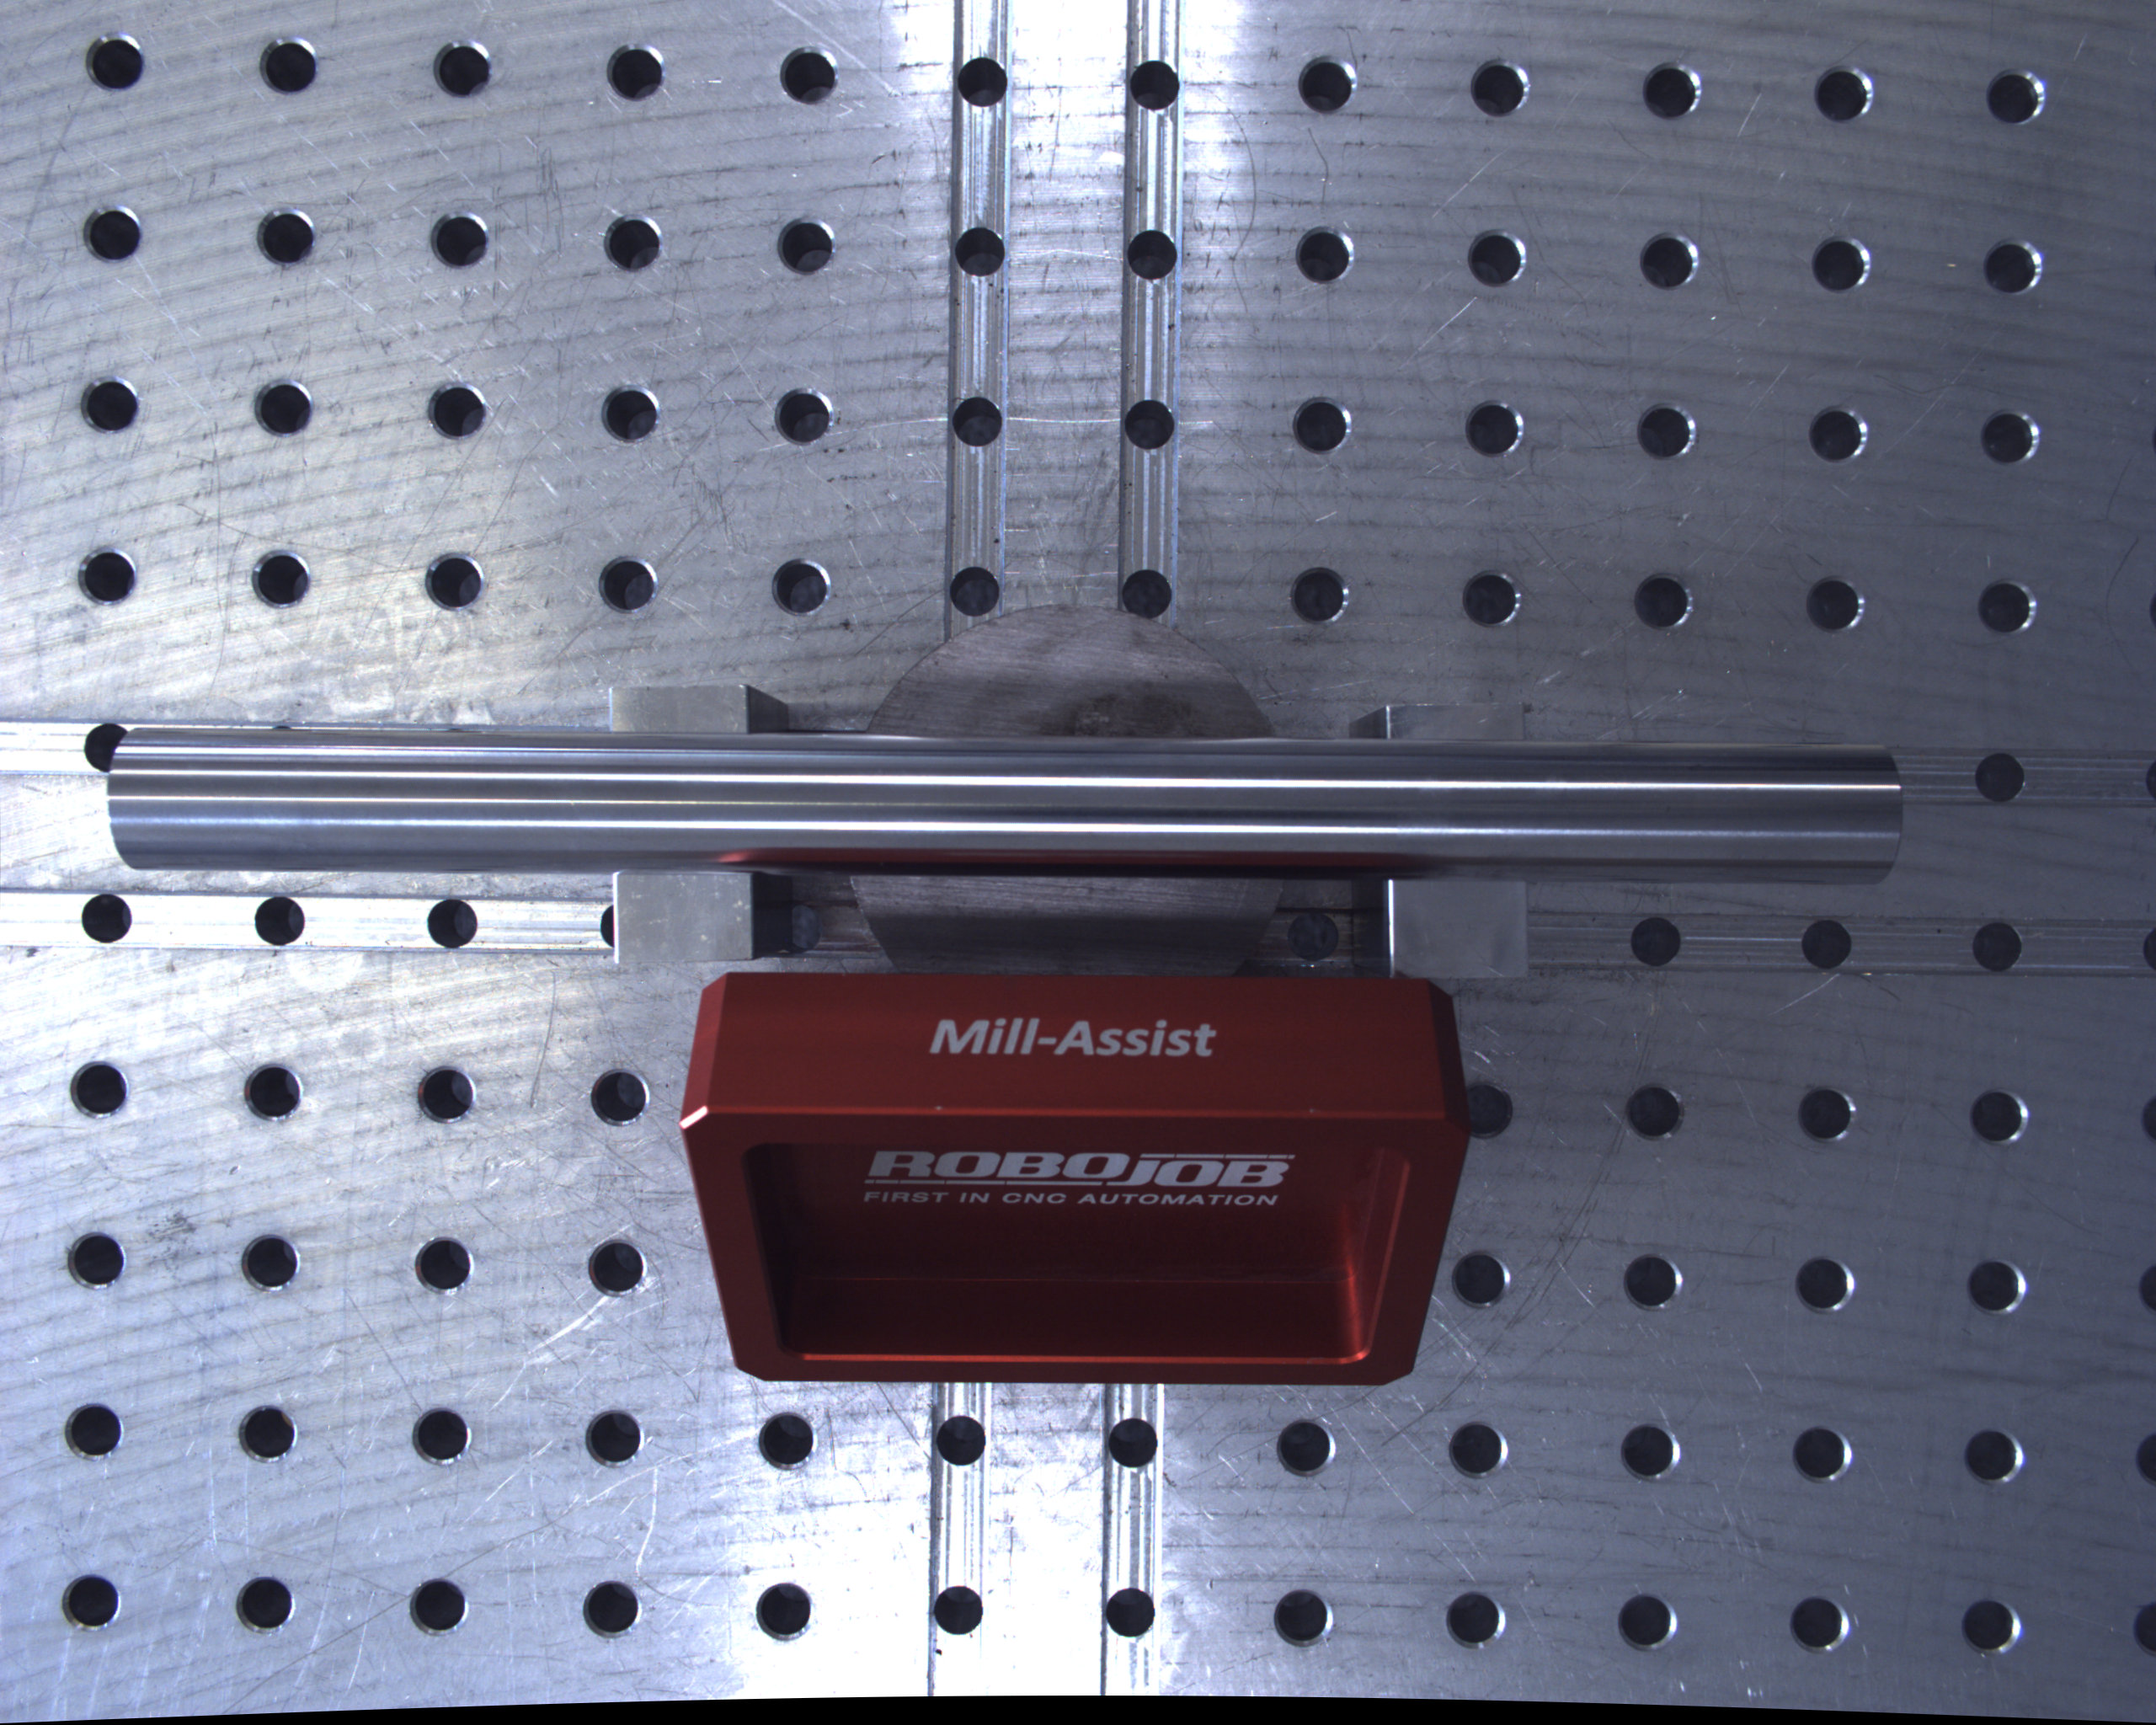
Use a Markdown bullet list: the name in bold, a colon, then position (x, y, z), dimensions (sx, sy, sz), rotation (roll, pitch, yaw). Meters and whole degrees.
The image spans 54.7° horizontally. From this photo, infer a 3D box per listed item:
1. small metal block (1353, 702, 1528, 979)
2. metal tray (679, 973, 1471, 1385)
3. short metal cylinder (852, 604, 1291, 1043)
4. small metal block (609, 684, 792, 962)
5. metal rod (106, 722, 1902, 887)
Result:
- **small metal block**: position (0.068, -0.004, 0.401), dimensions (0.025, 0.050, 0.050), rotation (-1, 90, 0)
- **metal tray**: position (-0.001, 0.060, 0.383), dimensions (0.131, 0.089, 0.030), rotation (0, 47, 0)
- **short metal cylinder**: position (-0.002, -0.007, 0.400), dimensions (0.081, 0.050, 0.080), rotation (0, 90, 0)
- **small metal block**: position (-0.071, -0.007, 0.400), dimensions (0.025, 0.050, 0.050), rotation (-1, 90, 0)
- **metal rod**: position (-0.012, -0.010, 0.363), dimensions (0.302, 0.025, 0.025), rotation (1, 90, 0)
